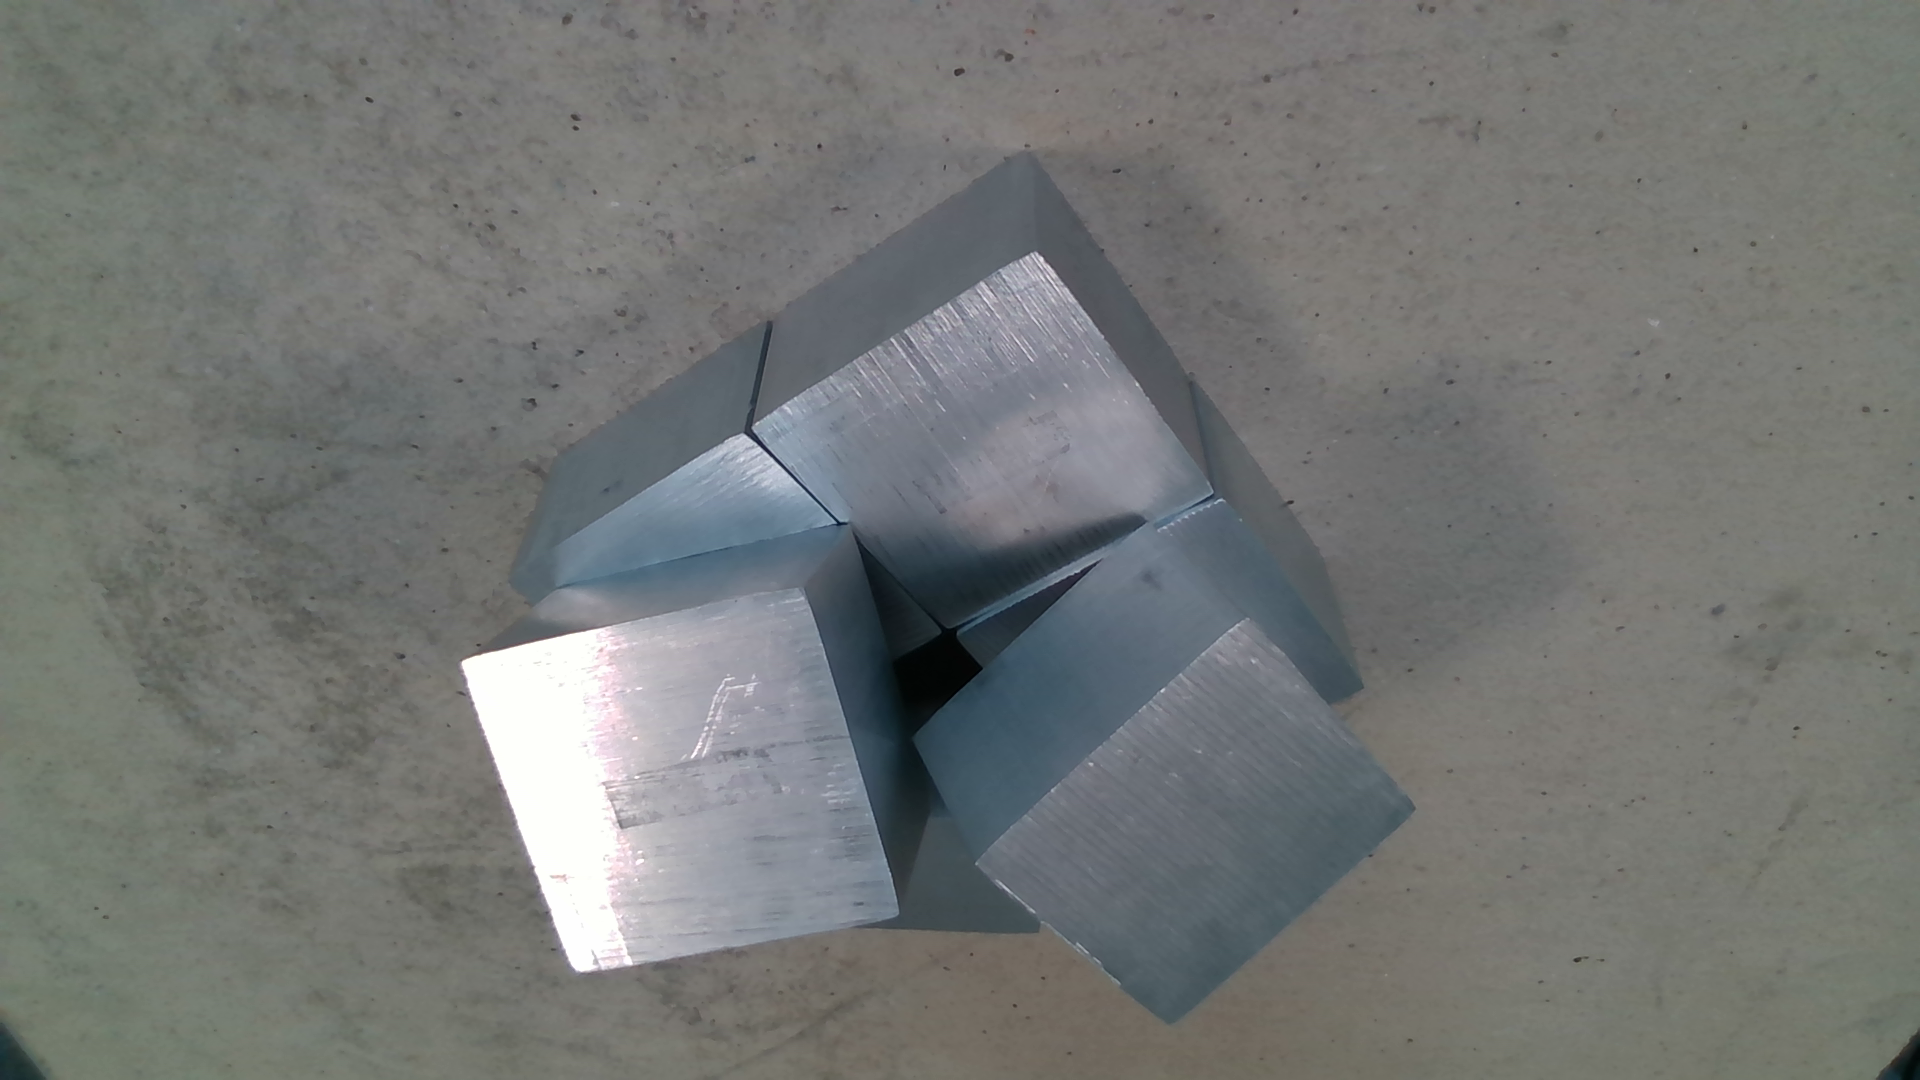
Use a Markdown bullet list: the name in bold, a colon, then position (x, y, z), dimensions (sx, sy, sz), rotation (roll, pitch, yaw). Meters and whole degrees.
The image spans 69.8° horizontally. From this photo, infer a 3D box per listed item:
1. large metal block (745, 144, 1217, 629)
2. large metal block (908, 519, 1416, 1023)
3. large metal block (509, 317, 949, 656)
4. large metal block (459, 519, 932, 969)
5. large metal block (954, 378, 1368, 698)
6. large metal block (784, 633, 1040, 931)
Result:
- **large metal block**: position (0.006, -0.035, 0.344), dimensions (0.080, 0.050, 0.080), rotation (-28, 125, 22)
- **large metal block**: position (0.048, 0.057, 0.335), dimensions (0.080, 0.050, 0.080), rotation (-43, 121, 4)
- **large metal block**: position (-0.059, 0.000, 0.375), dimensions (0.080, 0.050, 0.080), rotation (-29, 125, 22)
- **large metal block**: position (-0.059, 0.048, 0.329), dimensions (0.080, 0.050, 0.080), rotation (-12, 105, 11)
- **large metal block**: position (0.054, 0.015, 0.384), dimensions (0.080, 0.050, 0.080), rotation (-29, 125, 22)
- **large metal block**: position (-0.016, 0.066, 0.410), dimensions (0.080, 0.080, 0.050), rotation (3, 130, -2)
